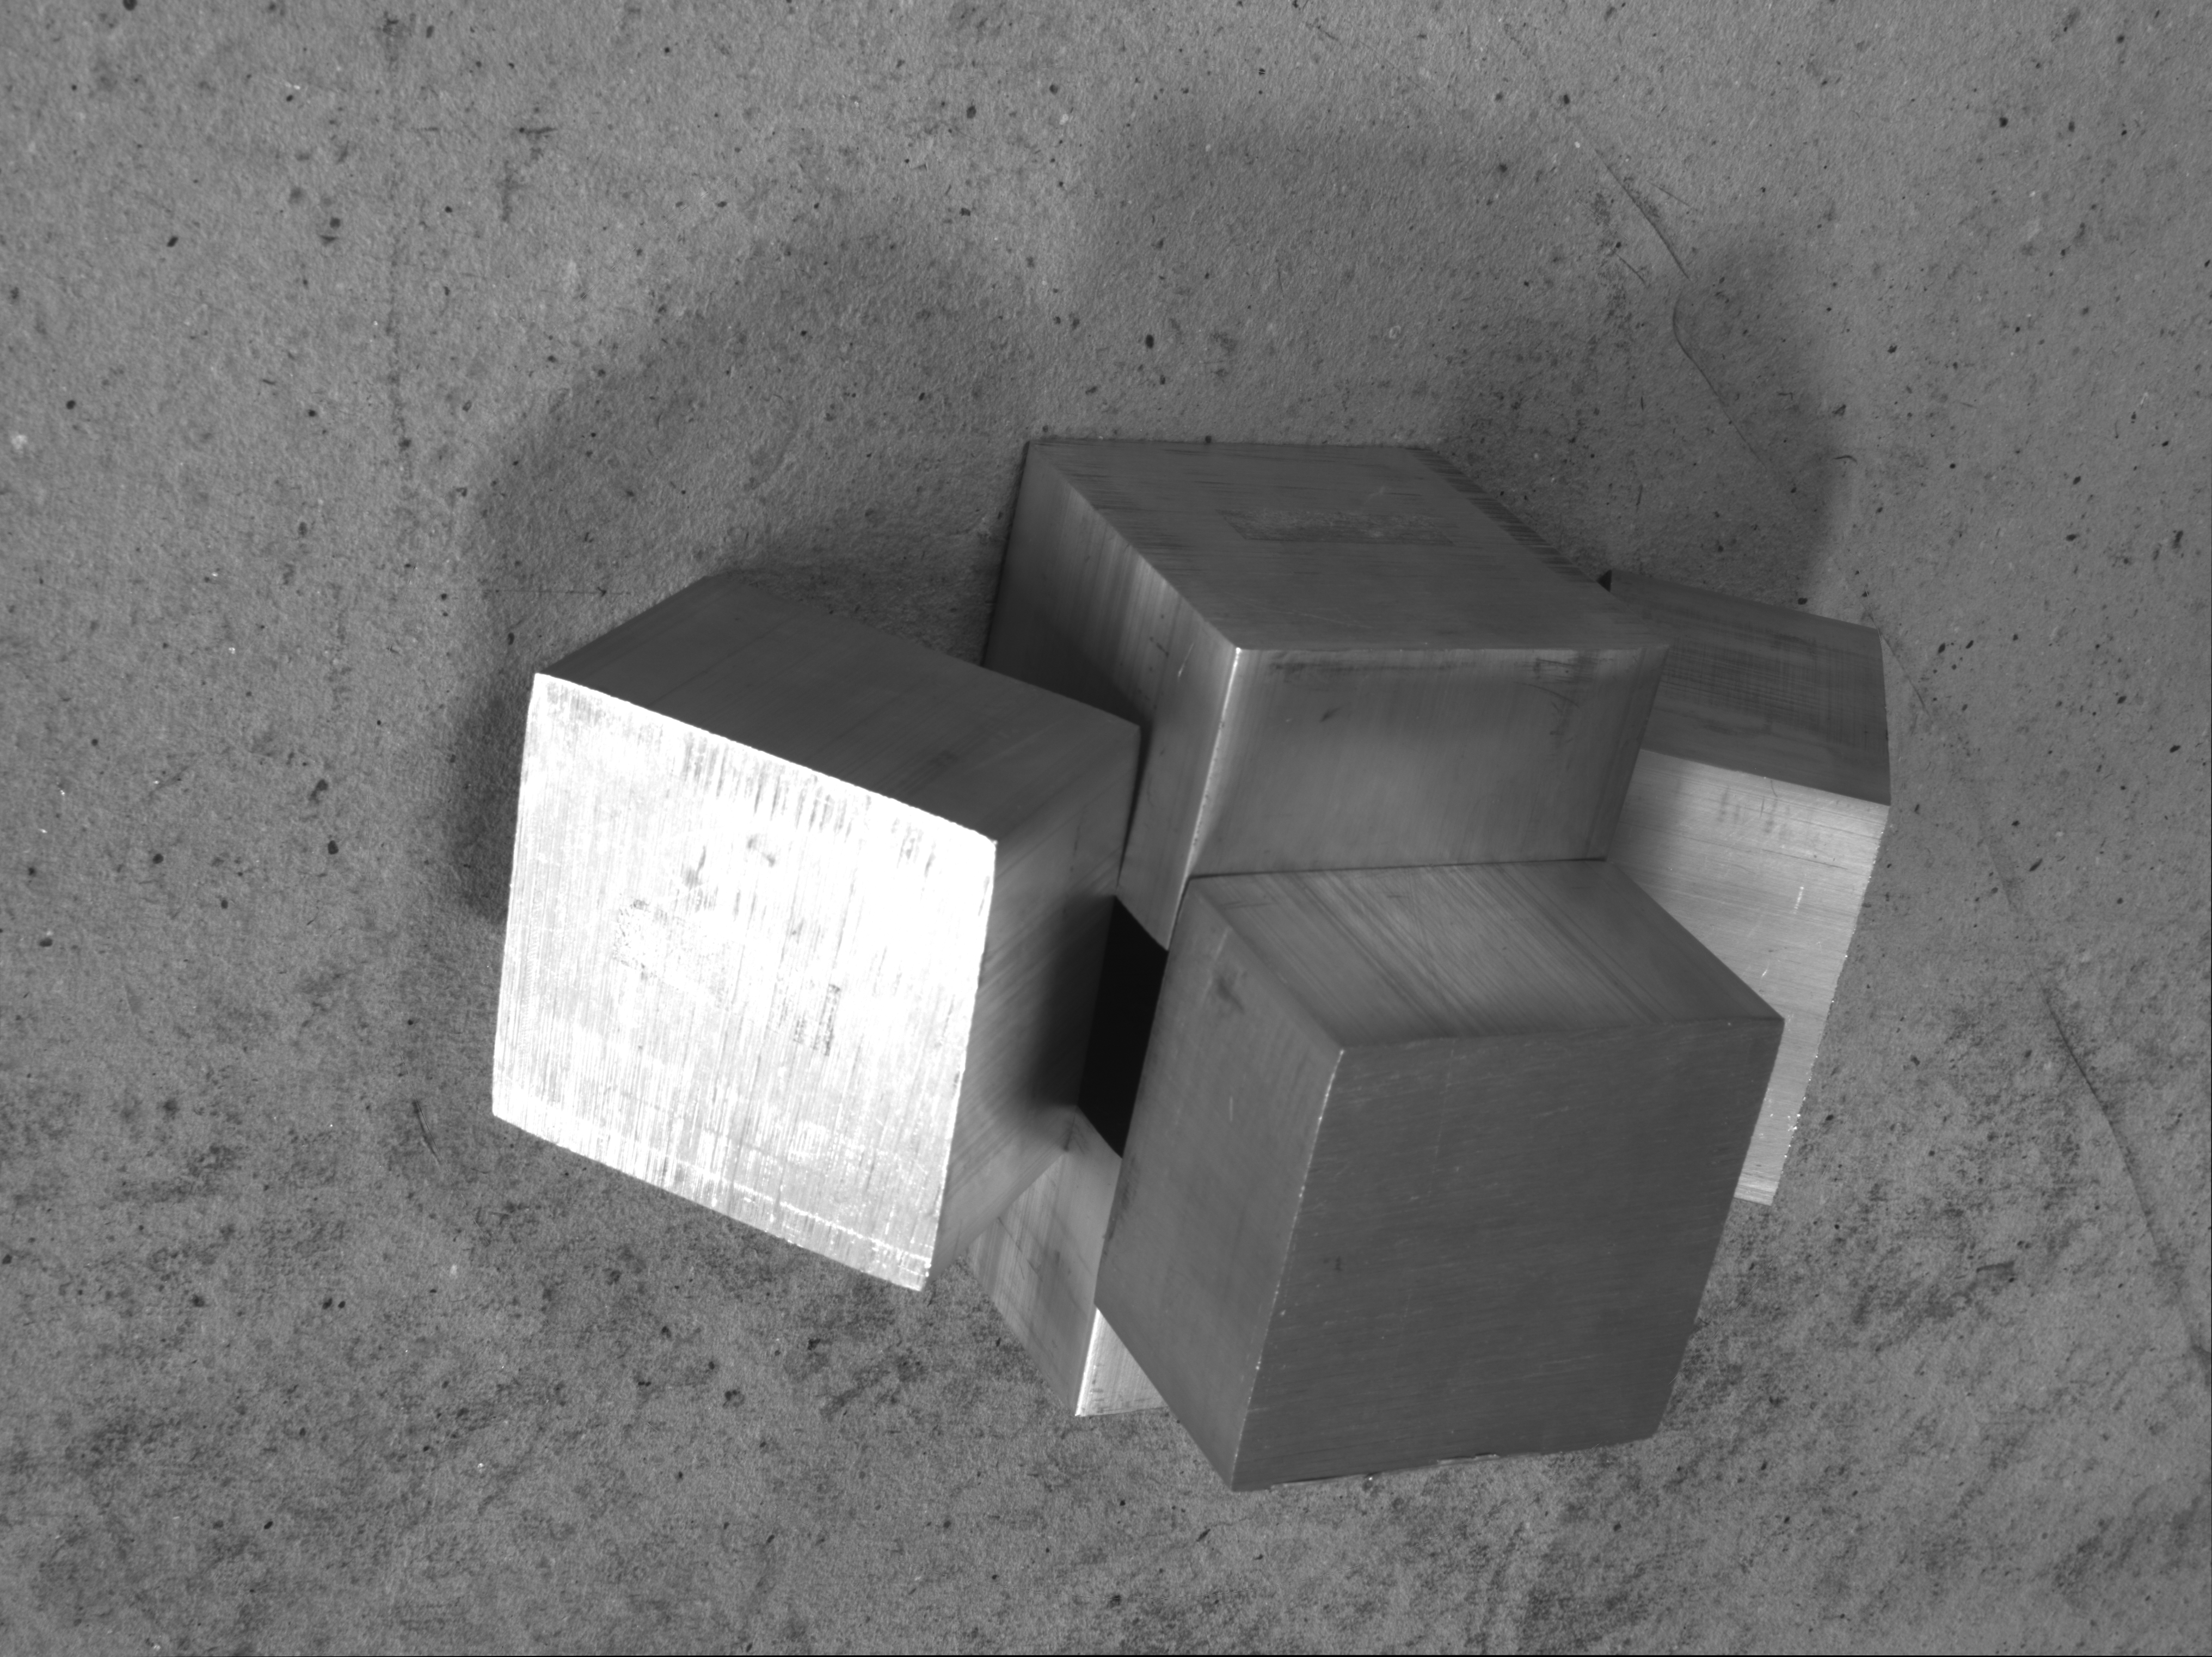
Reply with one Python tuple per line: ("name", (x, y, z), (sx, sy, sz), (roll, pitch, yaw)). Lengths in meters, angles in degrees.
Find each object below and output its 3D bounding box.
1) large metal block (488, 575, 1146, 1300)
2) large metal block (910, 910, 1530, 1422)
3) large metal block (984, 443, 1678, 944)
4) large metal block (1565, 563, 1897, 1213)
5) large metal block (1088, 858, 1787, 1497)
("large metal block", (-0.046, 0.016, 0.578), (0.050, 0.080, 0.080), (-39, 144, -57))
("large metal block", (0.016, 0.056, 0.647), (0.080, 0.080, 0.050), (-3, 120, -26))
("large metal block", (0.034, -0.024, 0.606), (0.080, 0.080, 0.050), (-2, 119, -28))
("large metal block", (0.105, 0.009, 0.654), (0.050, 0.080, 0.080), (13, 116, 4))
("large metal block", (0.051, 0.053, 0.578), (0.080, 0.050, 0.080), (-2, 119, -27))
